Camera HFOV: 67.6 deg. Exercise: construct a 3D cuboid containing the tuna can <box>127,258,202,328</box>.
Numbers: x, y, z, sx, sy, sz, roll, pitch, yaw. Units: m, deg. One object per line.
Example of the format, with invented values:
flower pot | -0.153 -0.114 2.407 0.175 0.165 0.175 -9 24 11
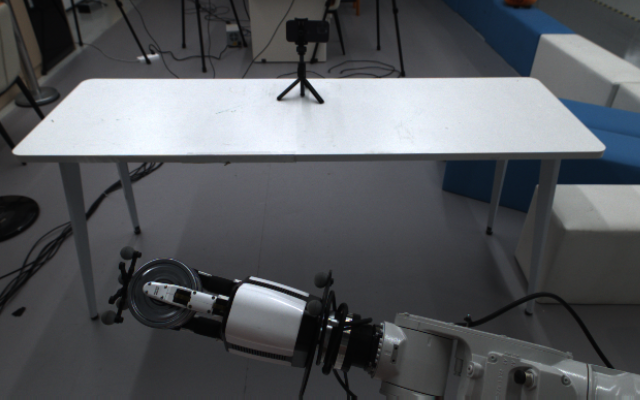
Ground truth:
tuna can | -0.187 0.115 0.595 0.085 0.034 0.085 1 74 -4
